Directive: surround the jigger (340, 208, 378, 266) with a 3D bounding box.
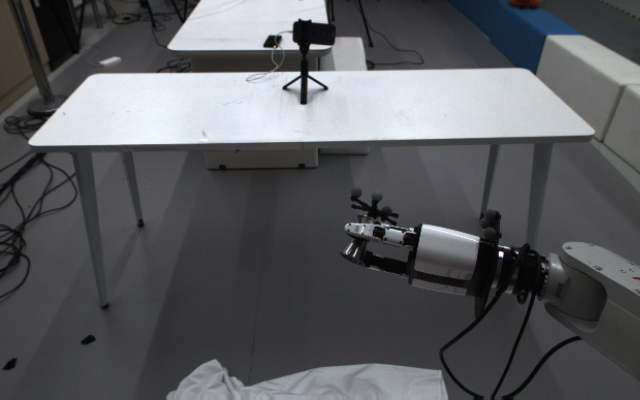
[{"bbox_3d":[0.061,0.057,0.739,0.043,0.043,0.071,21,73,25],"label":"jigger"}]
